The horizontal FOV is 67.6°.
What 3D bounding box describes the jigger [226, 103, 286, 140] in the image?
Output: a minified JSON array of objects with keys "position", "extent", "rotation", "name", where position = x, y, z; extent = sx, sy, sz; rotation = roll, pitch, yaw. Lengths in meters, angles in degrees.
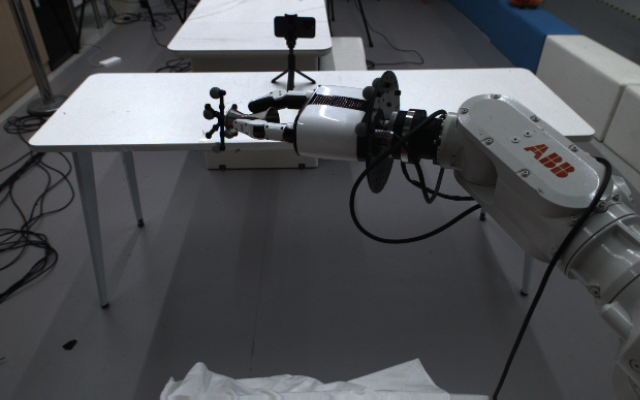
[{"position":[-0.093,-0.116,0.701],"extent":[0.071,0.043,0.043],"rotation":[5,34,21],"name":"jigger"}]
